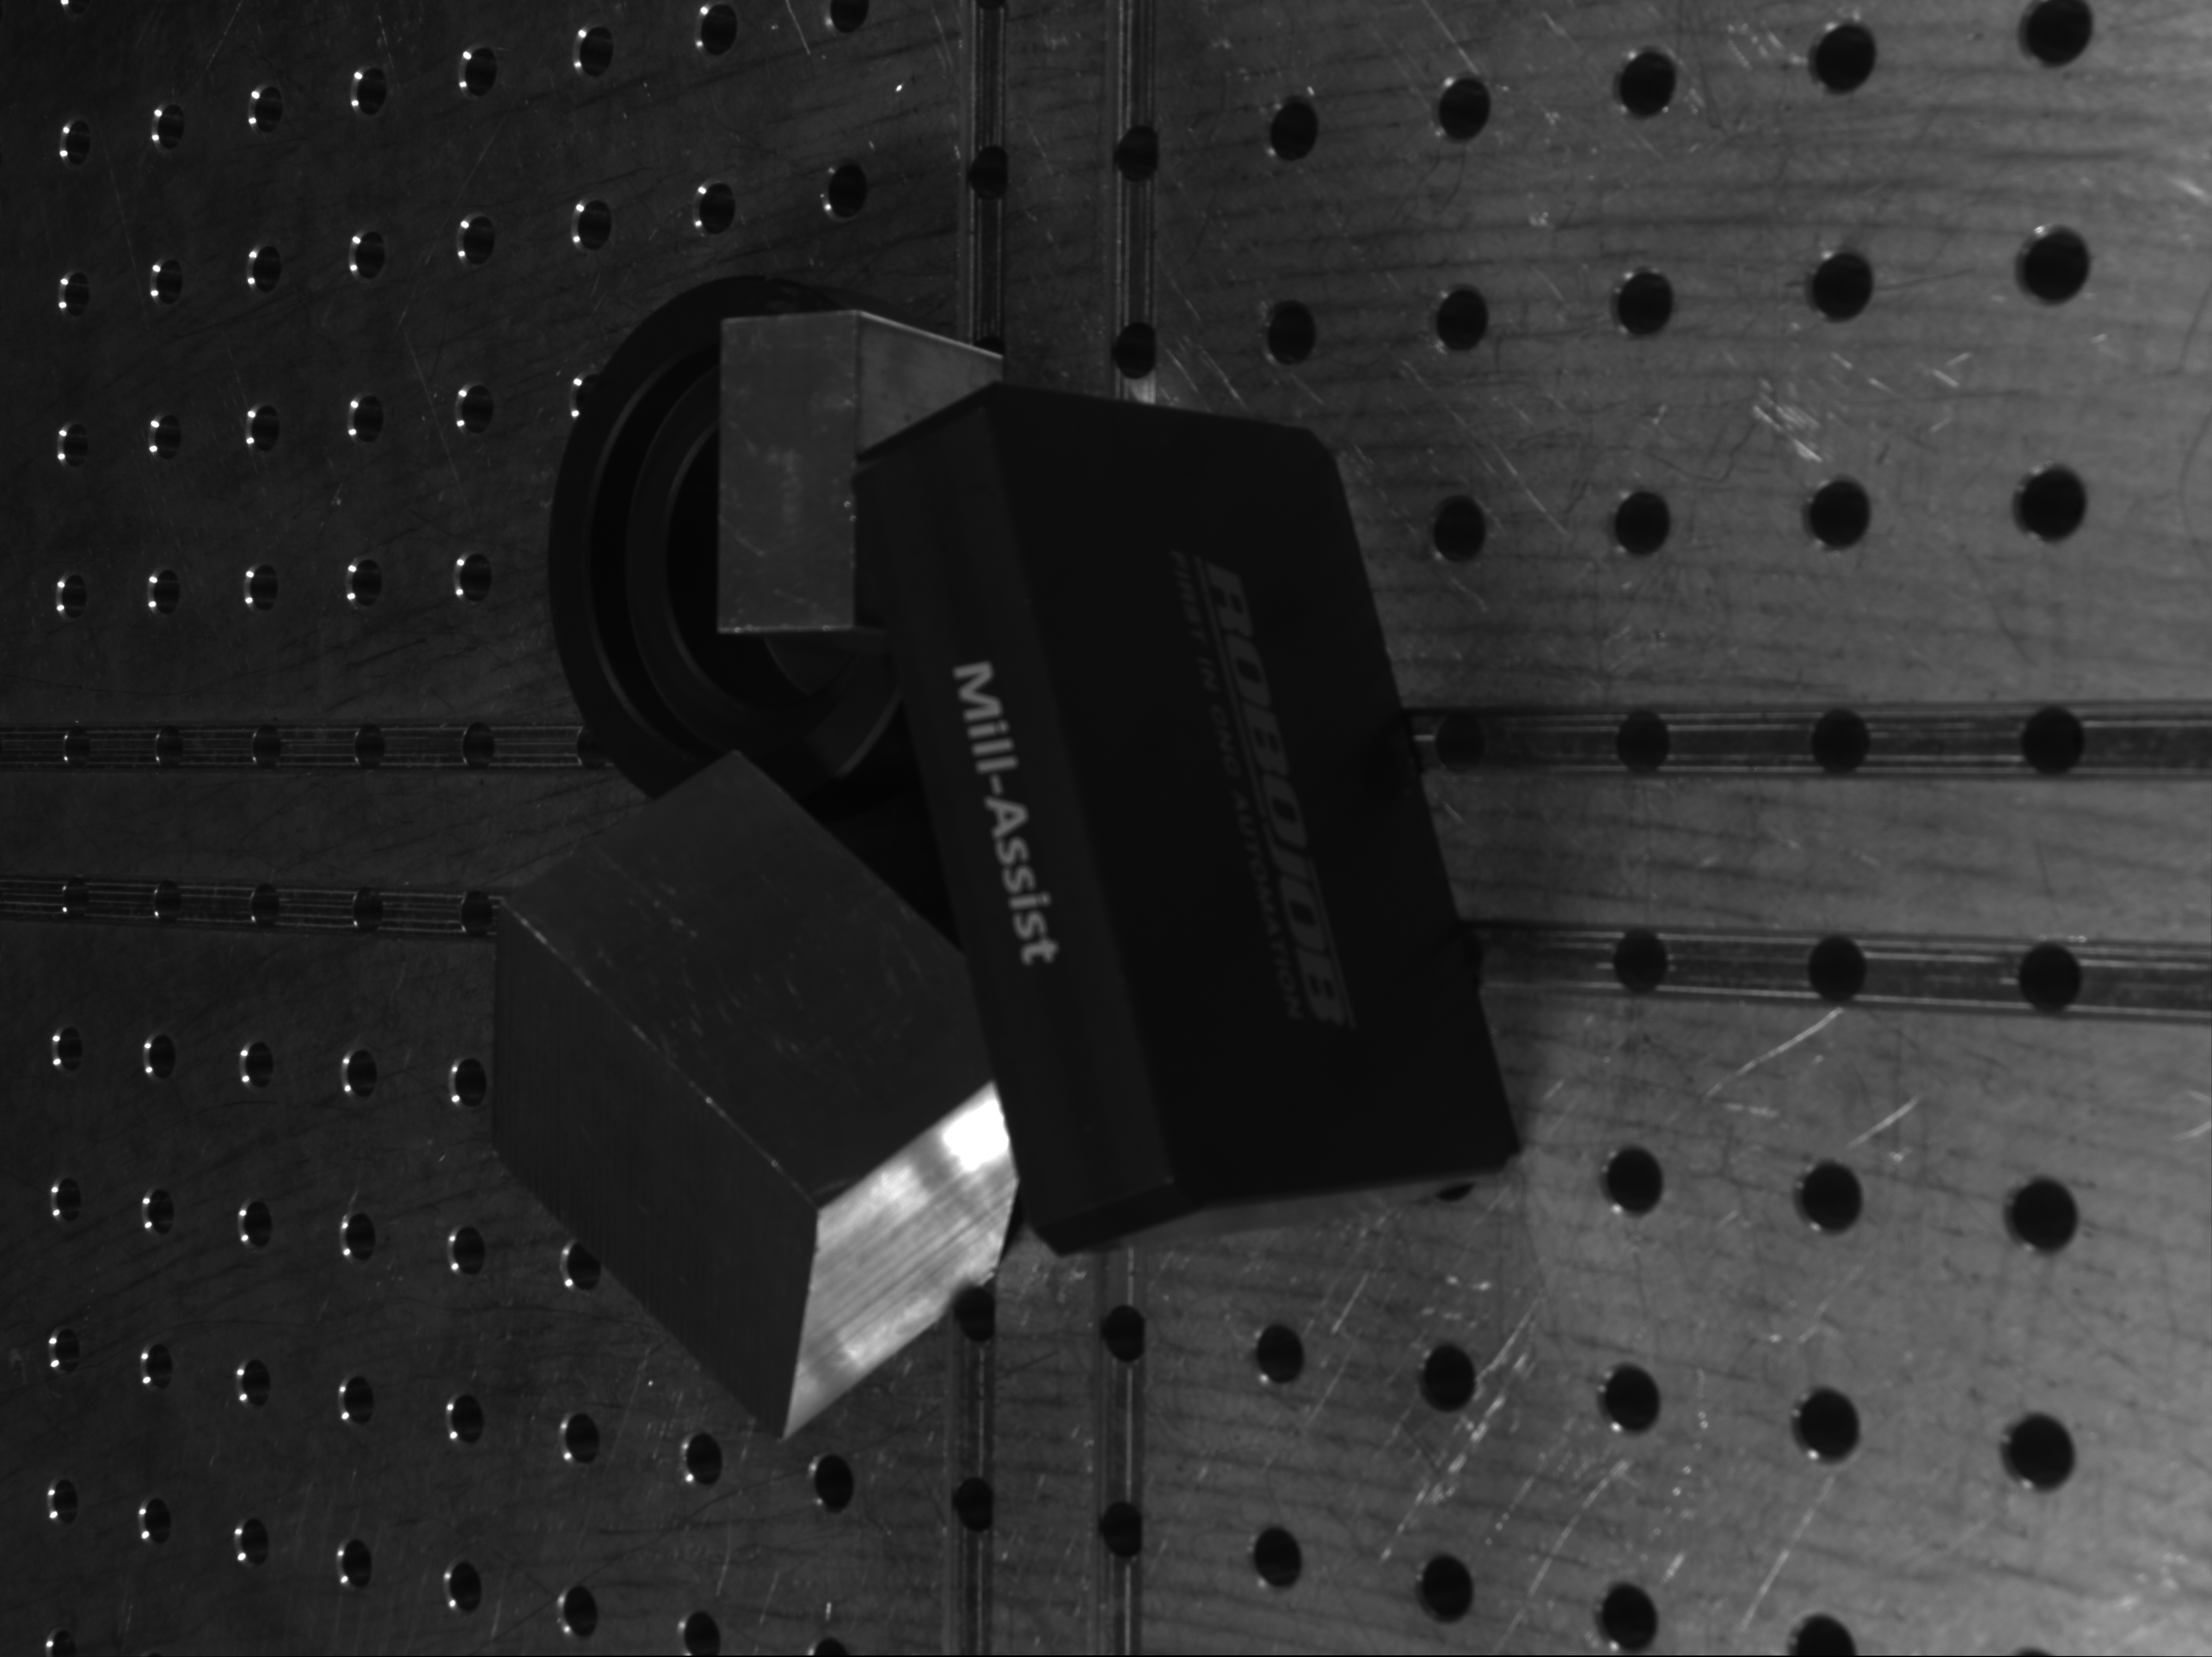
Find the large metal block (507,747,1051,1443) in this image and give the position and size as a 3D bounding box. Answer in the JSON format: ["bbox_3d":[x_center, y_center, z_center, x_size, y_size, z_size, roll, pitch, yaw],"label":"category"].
[{"bbox_3d":[-0.059,0.047,0.642,0.080,0.050,0.080,41,147,20],"label":"large metal block"}]

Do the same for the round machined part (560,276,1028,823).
[{"bbox_3d":[-0.052,-0.050,0.670,0.098,0.042,0.098,0,90,39],"label":"round machined part"}]

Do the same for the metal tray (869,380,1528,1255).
[{"bbox_3d":[0.016,-0.002,0.584,0.030,0.090,0.130,-22,76,37],"label":"metal tray"}]

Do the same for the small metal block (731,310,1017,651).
[{"bbox_3d":[-0.037,-0.056,0.601,0.025,0.050,0.050,0,89,25],"label":"small metal block"}]

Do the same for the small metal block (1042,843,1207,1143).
[{"bbox_3d":[0.011,0.030,0.624,0.050,0.025,0.050,18,106,49],"label":"small metal block"}]
